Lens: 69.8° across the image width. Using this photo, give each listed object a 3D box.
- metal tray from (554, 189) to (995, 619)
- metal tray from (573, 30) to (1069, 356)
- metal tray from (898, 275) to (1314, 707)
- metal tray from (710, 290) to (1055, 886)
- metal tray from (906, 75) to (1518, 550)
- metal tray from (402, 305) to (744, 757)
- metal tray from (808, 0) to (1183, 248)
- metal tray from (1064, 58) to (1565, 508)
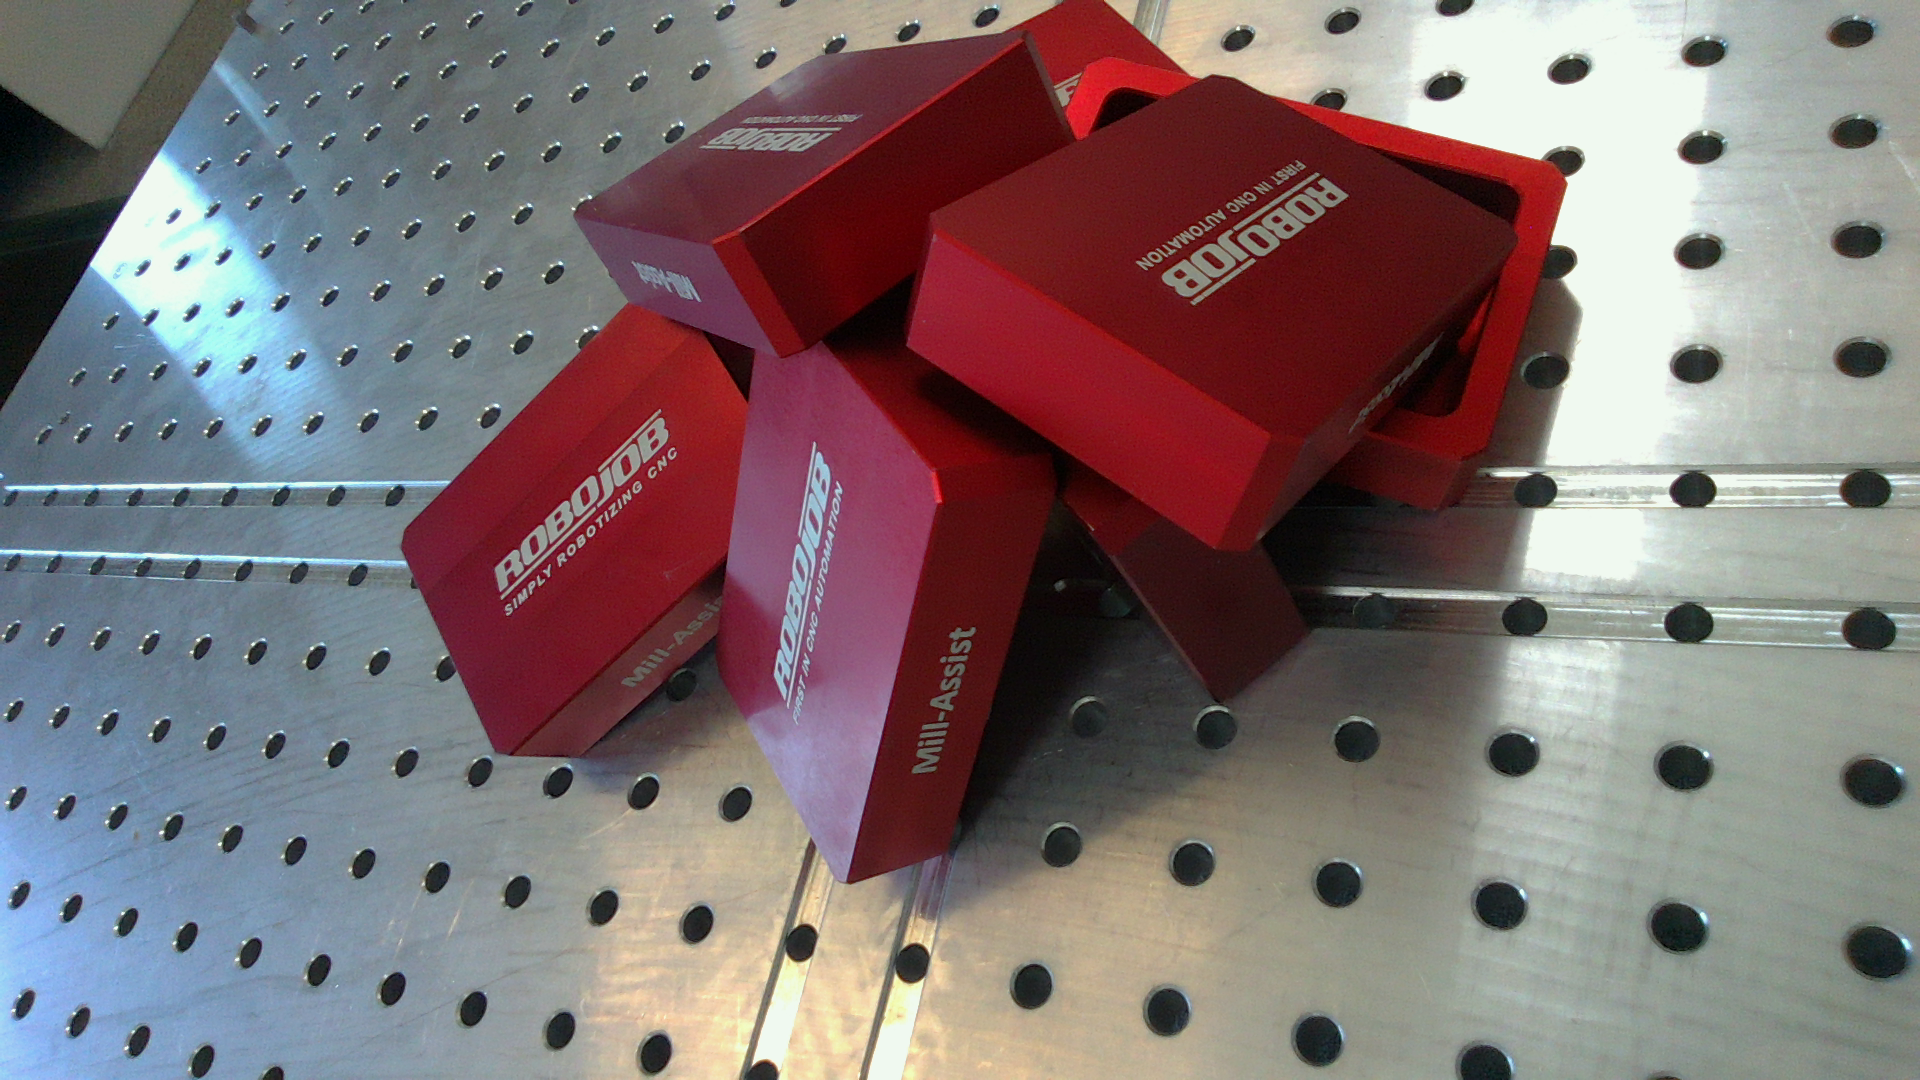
[{"bbox_3d":[-0.064,-0.048,0.457,0.130,0.030,0.090,-43,51,-2],"label":"metal tray"},{"bbox_3d":[-0.041,-0.093,0.359,0.090,0.030,0.130,-38,29,-15],"label":"metal tray"},{"bbox_3d":[0.030,-0.026,0.355,0.030,0.090,0.130,-39,50,3],"label":"metal tray"},{"bbox_3d":[-0.026,0.011,0.345,0.030,0.130,0.090,-11,43,-30],"label":"metal tray"},{"bbox_3d":[0.061,-0.060,0.316,0.090,0.030,0.130,35,45,18],"label":"metal tray"},{"bbox_3d":[-0.106,-0.006,0.425,0.130,0.030,0.090,-41,66,15],"label":"metal tray"},{"bbox_3d":[0.009,-0.114,0.435,0.130,0.030,0.090,-28,52,-8],"label":"metal tray"},{"bbox_3d":[0.081,-0.071,0.365,0.130,0.030,0.090,19,70,14],"label":"metal tray"}]
